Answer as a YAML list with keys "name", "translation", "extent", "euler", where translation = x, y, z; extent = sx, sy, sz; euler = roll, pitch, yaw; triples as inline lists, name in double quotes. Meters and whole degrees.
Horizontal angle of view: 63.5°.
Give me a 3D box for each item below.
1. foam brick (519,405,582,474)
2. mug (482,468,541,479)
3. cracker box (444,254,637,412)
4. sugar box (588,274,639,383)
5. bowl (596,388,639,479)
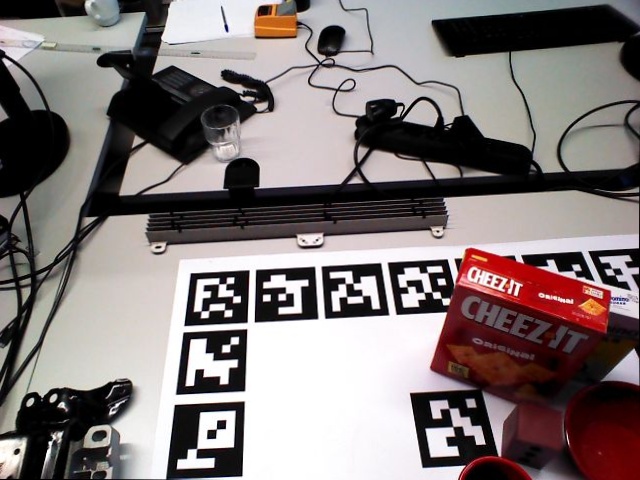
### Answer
- name: "foam brick"
  translation: [0.281, 0.247, 0.638]
  extent: [0.053, 0.078, 0.051]
  euler: [8, 51, 11]
- name: "mug"
  translation: [0.203, 0.318, 0.573]
  extent: [0.117, 0.082, 0.093]
  euler: [-12, 43, -3]
- name: "cracker box"
  translation: [0.257, 0.125, 0.645]
  extent: [0.165, 0.214, 0.071]
  euler: [20, 53, 18]
- name: "sugar box"
  translation: [0.368, 0.119, 0.665]
  extent: [0.093, 0.177, 0.045]
  euler: [13, 53, 14]
- name: "bowl"
  translation: [0.405, 0.261, 0.613]
  extent: [0.162, 0.055, 0.160]
  euler: [-2, 52, 2]
